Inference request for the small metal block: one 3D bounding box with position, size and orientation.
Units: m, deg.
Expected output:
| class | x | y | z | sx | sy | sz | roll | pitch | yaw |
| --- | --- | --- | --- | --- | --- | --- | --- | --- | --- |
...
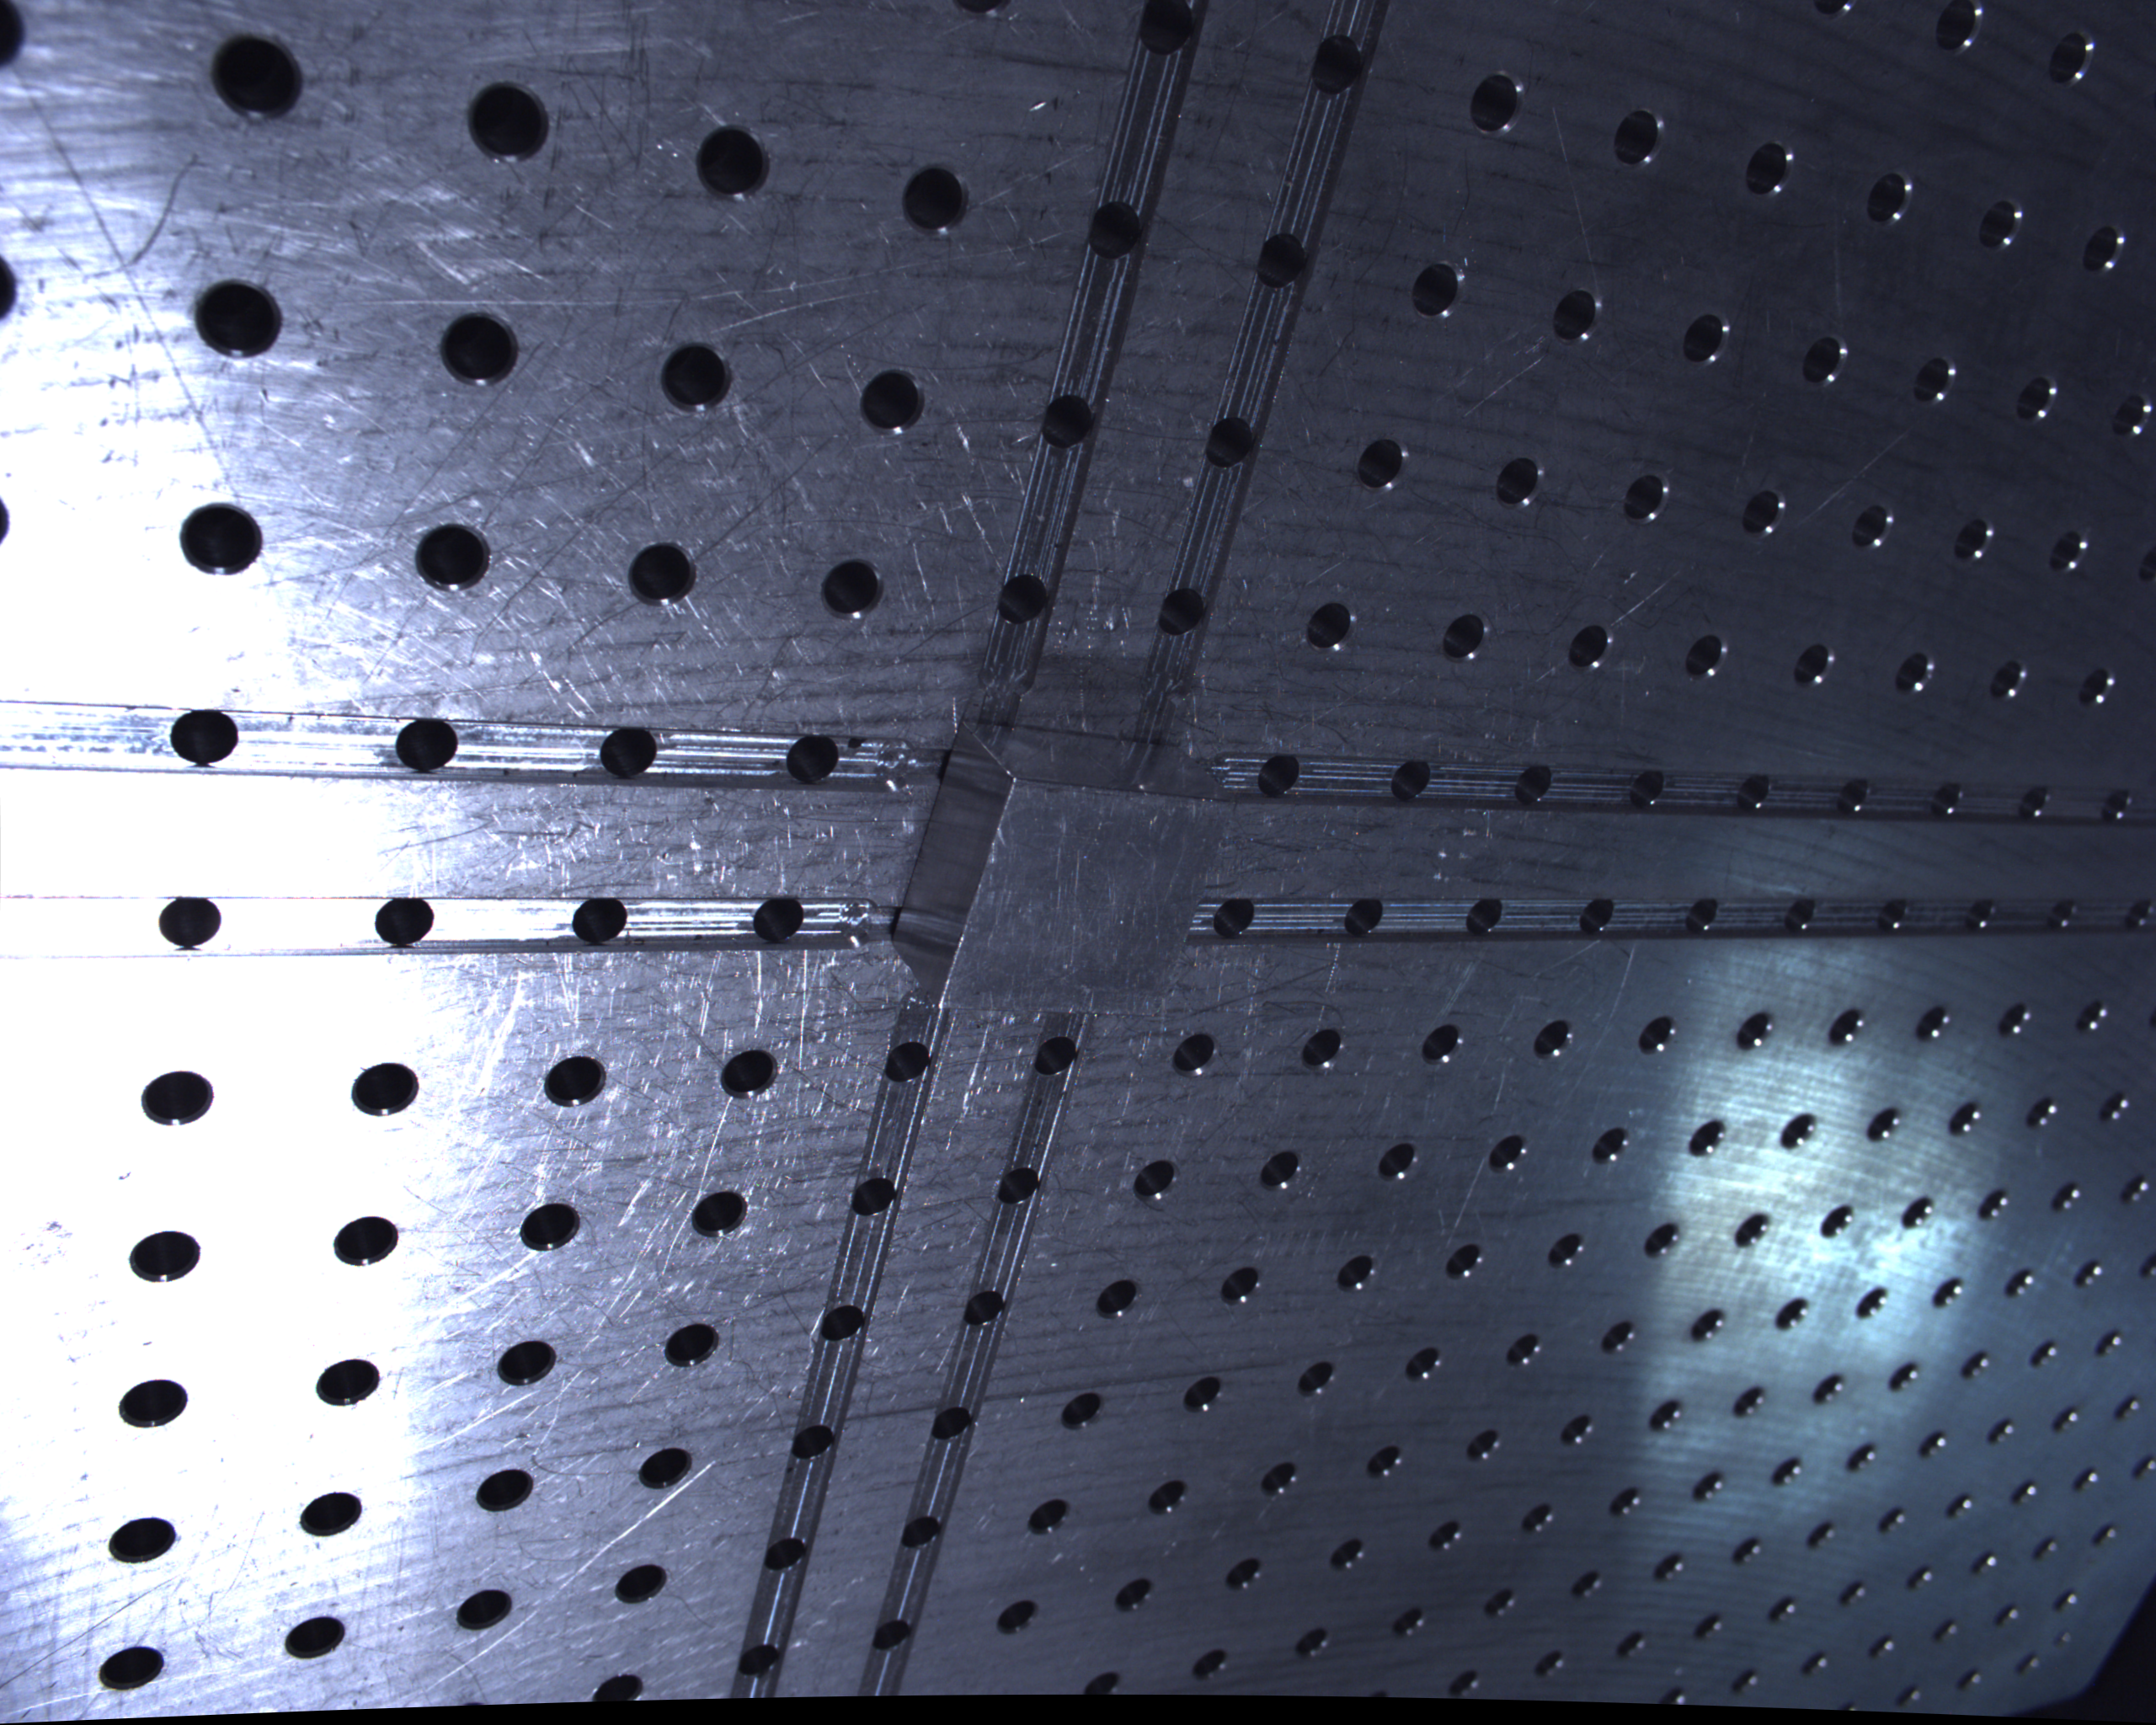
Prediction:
| class | x | y | z | sx | sy | sz | roll | pitch | yaw |
| --- | --- | --- | --- | --- | --- | --- | --- | --- | --- |
| small metal block | -0.003 | 0.002 | 0.412 | 0.050 | 0.025 | 0.050 | 5 | 116 | -31 |
